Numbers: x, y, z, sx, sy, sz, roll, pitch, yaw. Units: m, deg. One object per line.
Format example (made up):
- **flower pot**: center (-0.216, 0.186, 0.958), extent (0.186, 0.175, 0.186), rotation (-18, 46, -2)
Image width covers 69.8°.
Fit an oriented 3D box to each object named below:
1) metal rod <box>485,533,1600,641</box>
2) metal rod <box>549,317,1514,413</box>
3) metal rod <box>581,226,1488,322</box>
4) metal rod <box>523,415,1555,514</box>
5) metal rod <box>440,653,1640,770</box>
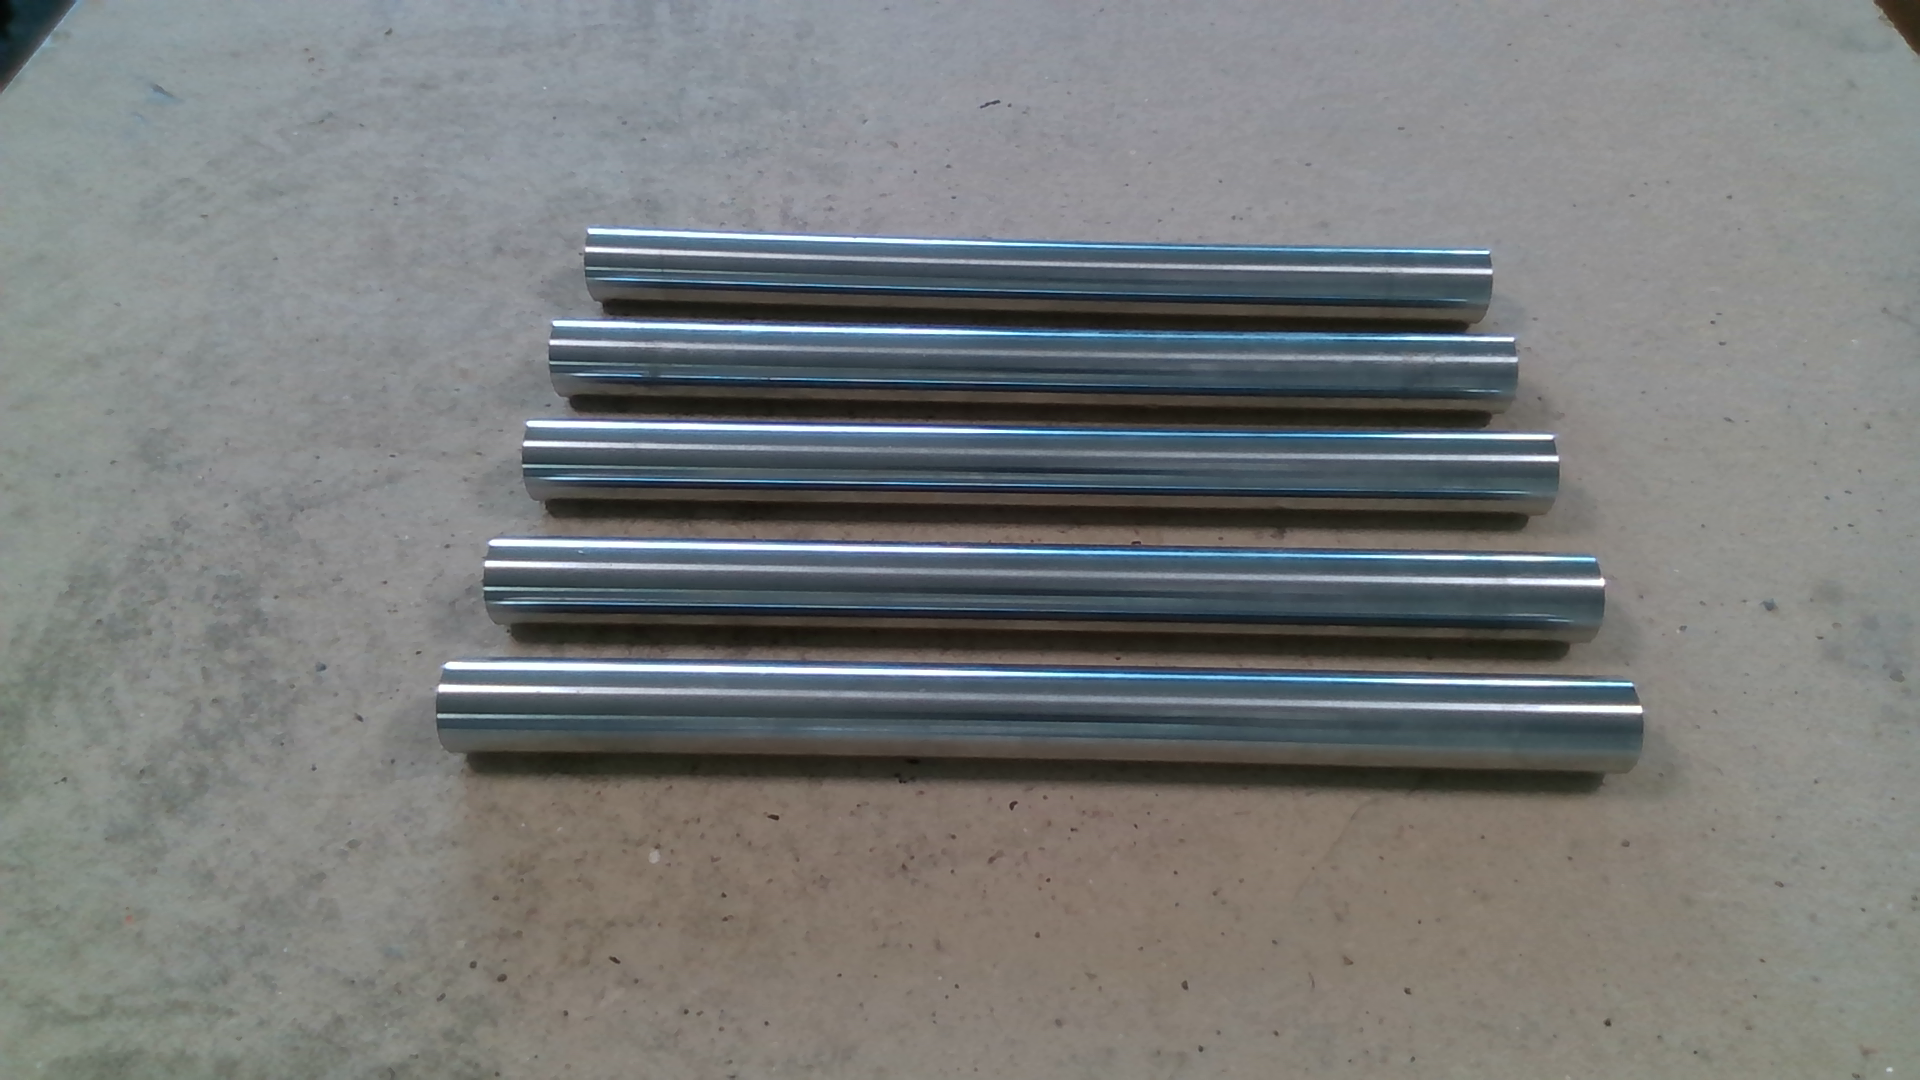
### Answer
- **metal rod**: center (0.022, 0.013, 0.383), extent (0.300, 0.025, 0.025), rotation (1, 50, 1)
- **metal rod**: center (0.022, -0.056, 0.440), extent (0.300, 0.025, 0.025), rotation (1, 50, 1)
- **metal rod**: center (0.024, -0.091, 0.468), extent (0.300, 0.025, 0.025), rotation (2, 50, 1)
- **metal rod**: center (0.022, -0.023, 0.413), extent (0.300, 0.025, 0.025), rotation (1, 50, 1)
- **metal rod**: center (0.019, 0.044, 0.357), extent (0.300, 0.025, 0.025), rotation (1, 50, 1)
